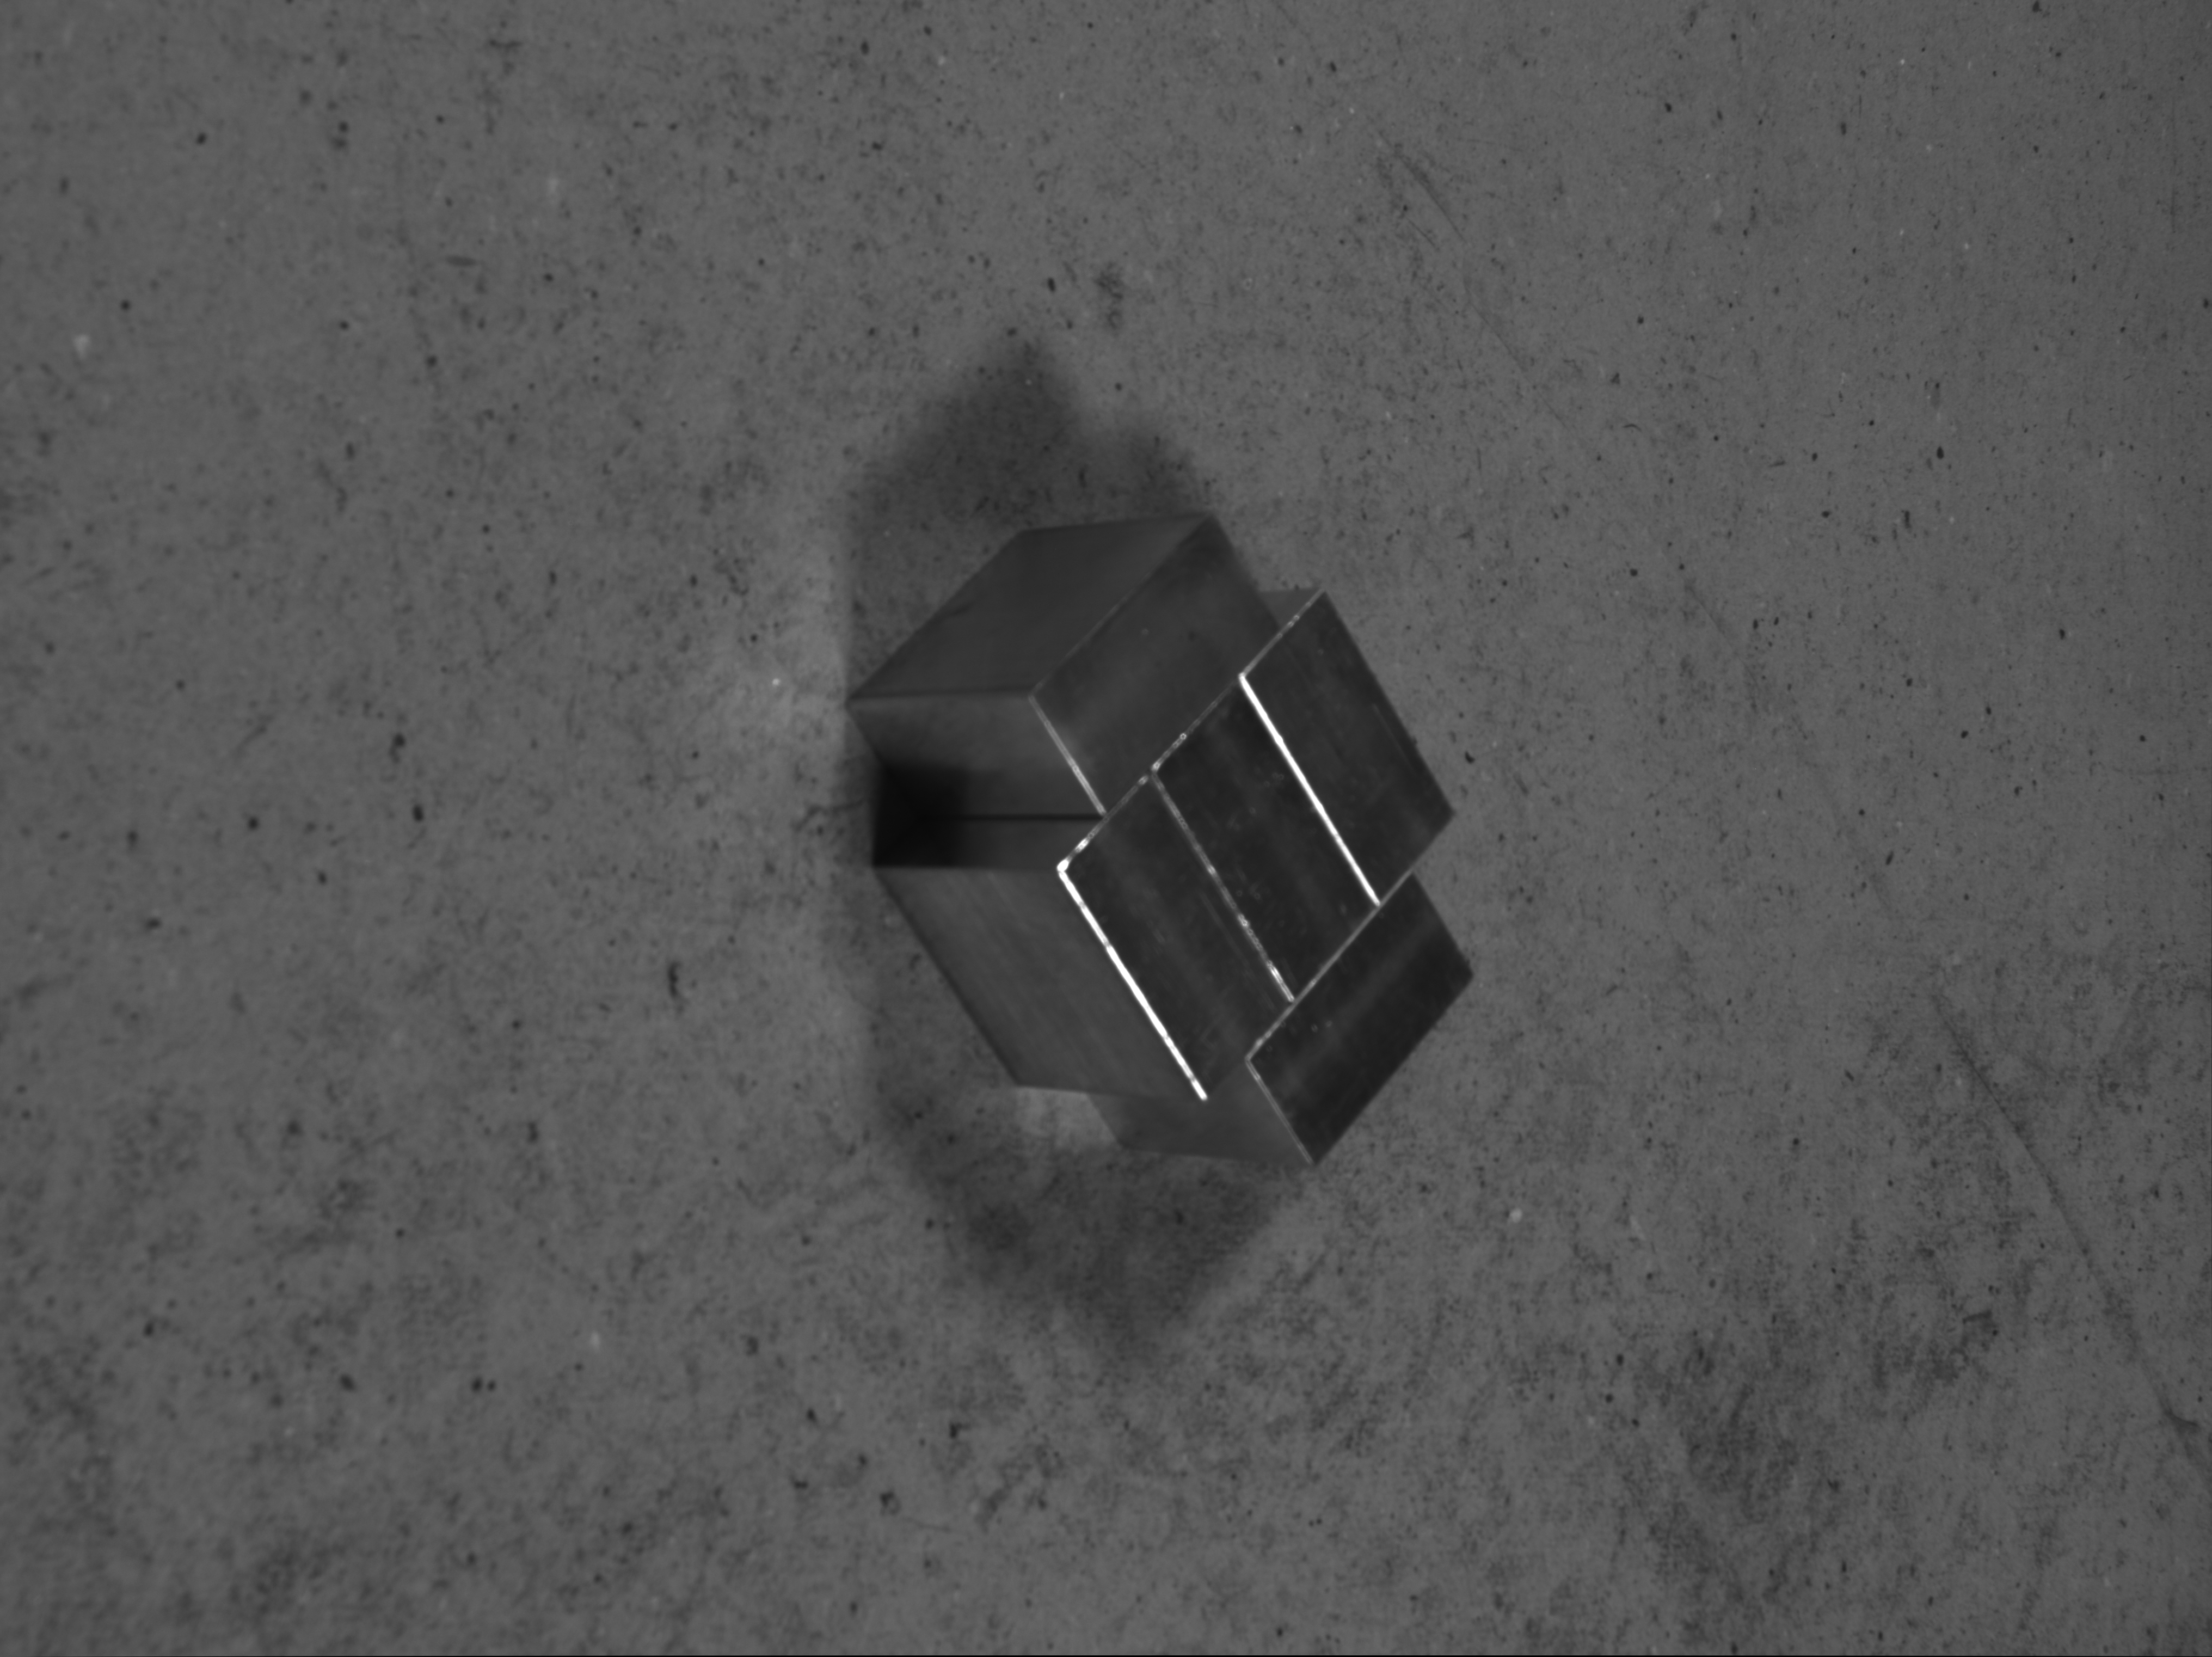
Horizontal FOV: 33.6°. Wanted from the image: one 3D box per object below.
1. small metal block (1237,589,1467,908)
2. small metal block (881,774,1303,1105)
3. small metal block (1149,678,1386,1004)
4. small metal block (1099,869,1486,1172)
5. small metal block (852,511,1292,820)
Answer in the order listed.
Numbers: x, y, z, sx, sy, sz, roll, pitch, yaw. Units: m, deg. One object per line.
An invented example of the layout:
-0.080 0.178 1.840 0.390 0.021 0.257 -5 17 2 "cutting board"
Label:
0.027 -0.013 0.643 0.025 0.050 0.050 -48 118 -29 "small metal block"
-0.003 0.018 0.618 0.025 0.050 0.050 -47 118 -30 "small metal block"
0.012 0.002 0.631 0.025 0.050 0.050 -47 118 -30 "small metal block"
0.030 0.033 0.645 0.050 0.050 0.025 -47 118 -30 "small metal block"
-0.006 -0.027 0.616 0.050 0.050 0.025 -47 118 -30 "small metal block"
